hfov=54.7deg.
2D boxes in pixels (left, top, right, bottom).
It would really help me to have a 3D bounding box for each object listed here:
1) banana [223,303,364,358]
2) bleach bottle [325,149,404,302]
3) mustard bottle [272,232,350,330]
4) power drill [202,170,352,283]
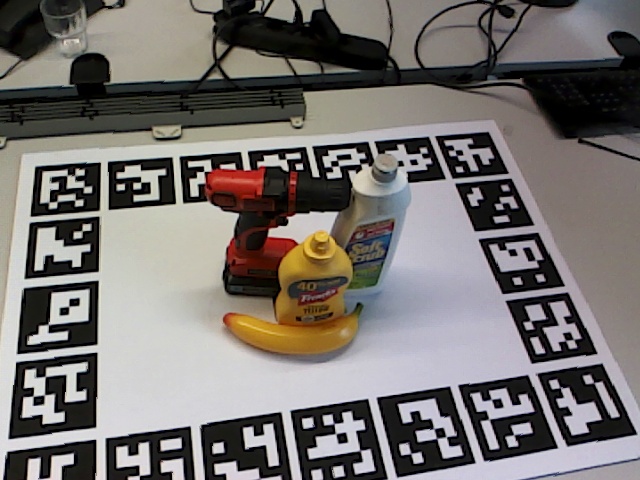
[{"bbox_3d":[-0.033,0.127,0.848,0.197,0.039,0.074,-2,56,-5],"label":"banana"},{"bbox_3d":[0.050,-0.016,0.823,0.102,0.250,0.068,-3,50,-8],"label":"bleach bottle"},{"bbox_3d":[-0.011,0.051,0.798,0.096,0.191,0.058,-5,56,-10],"label":"mustard bottle"},{"bbox_3d":[-0.061,-0.014,0.815,0.184,0.187,0.057,6,53,-4],"label":"power drill"}]
